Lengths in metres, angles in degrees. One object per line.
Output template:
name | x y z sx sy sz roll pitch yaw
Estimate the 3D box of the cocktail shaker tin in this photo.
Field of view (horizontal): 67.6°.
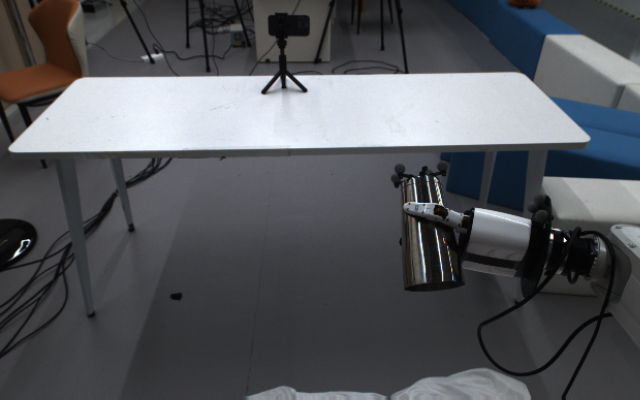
cocktail shaker tin | 0.169 0.051 0.760 0.093 0.093 0.170 -2 71 -6
